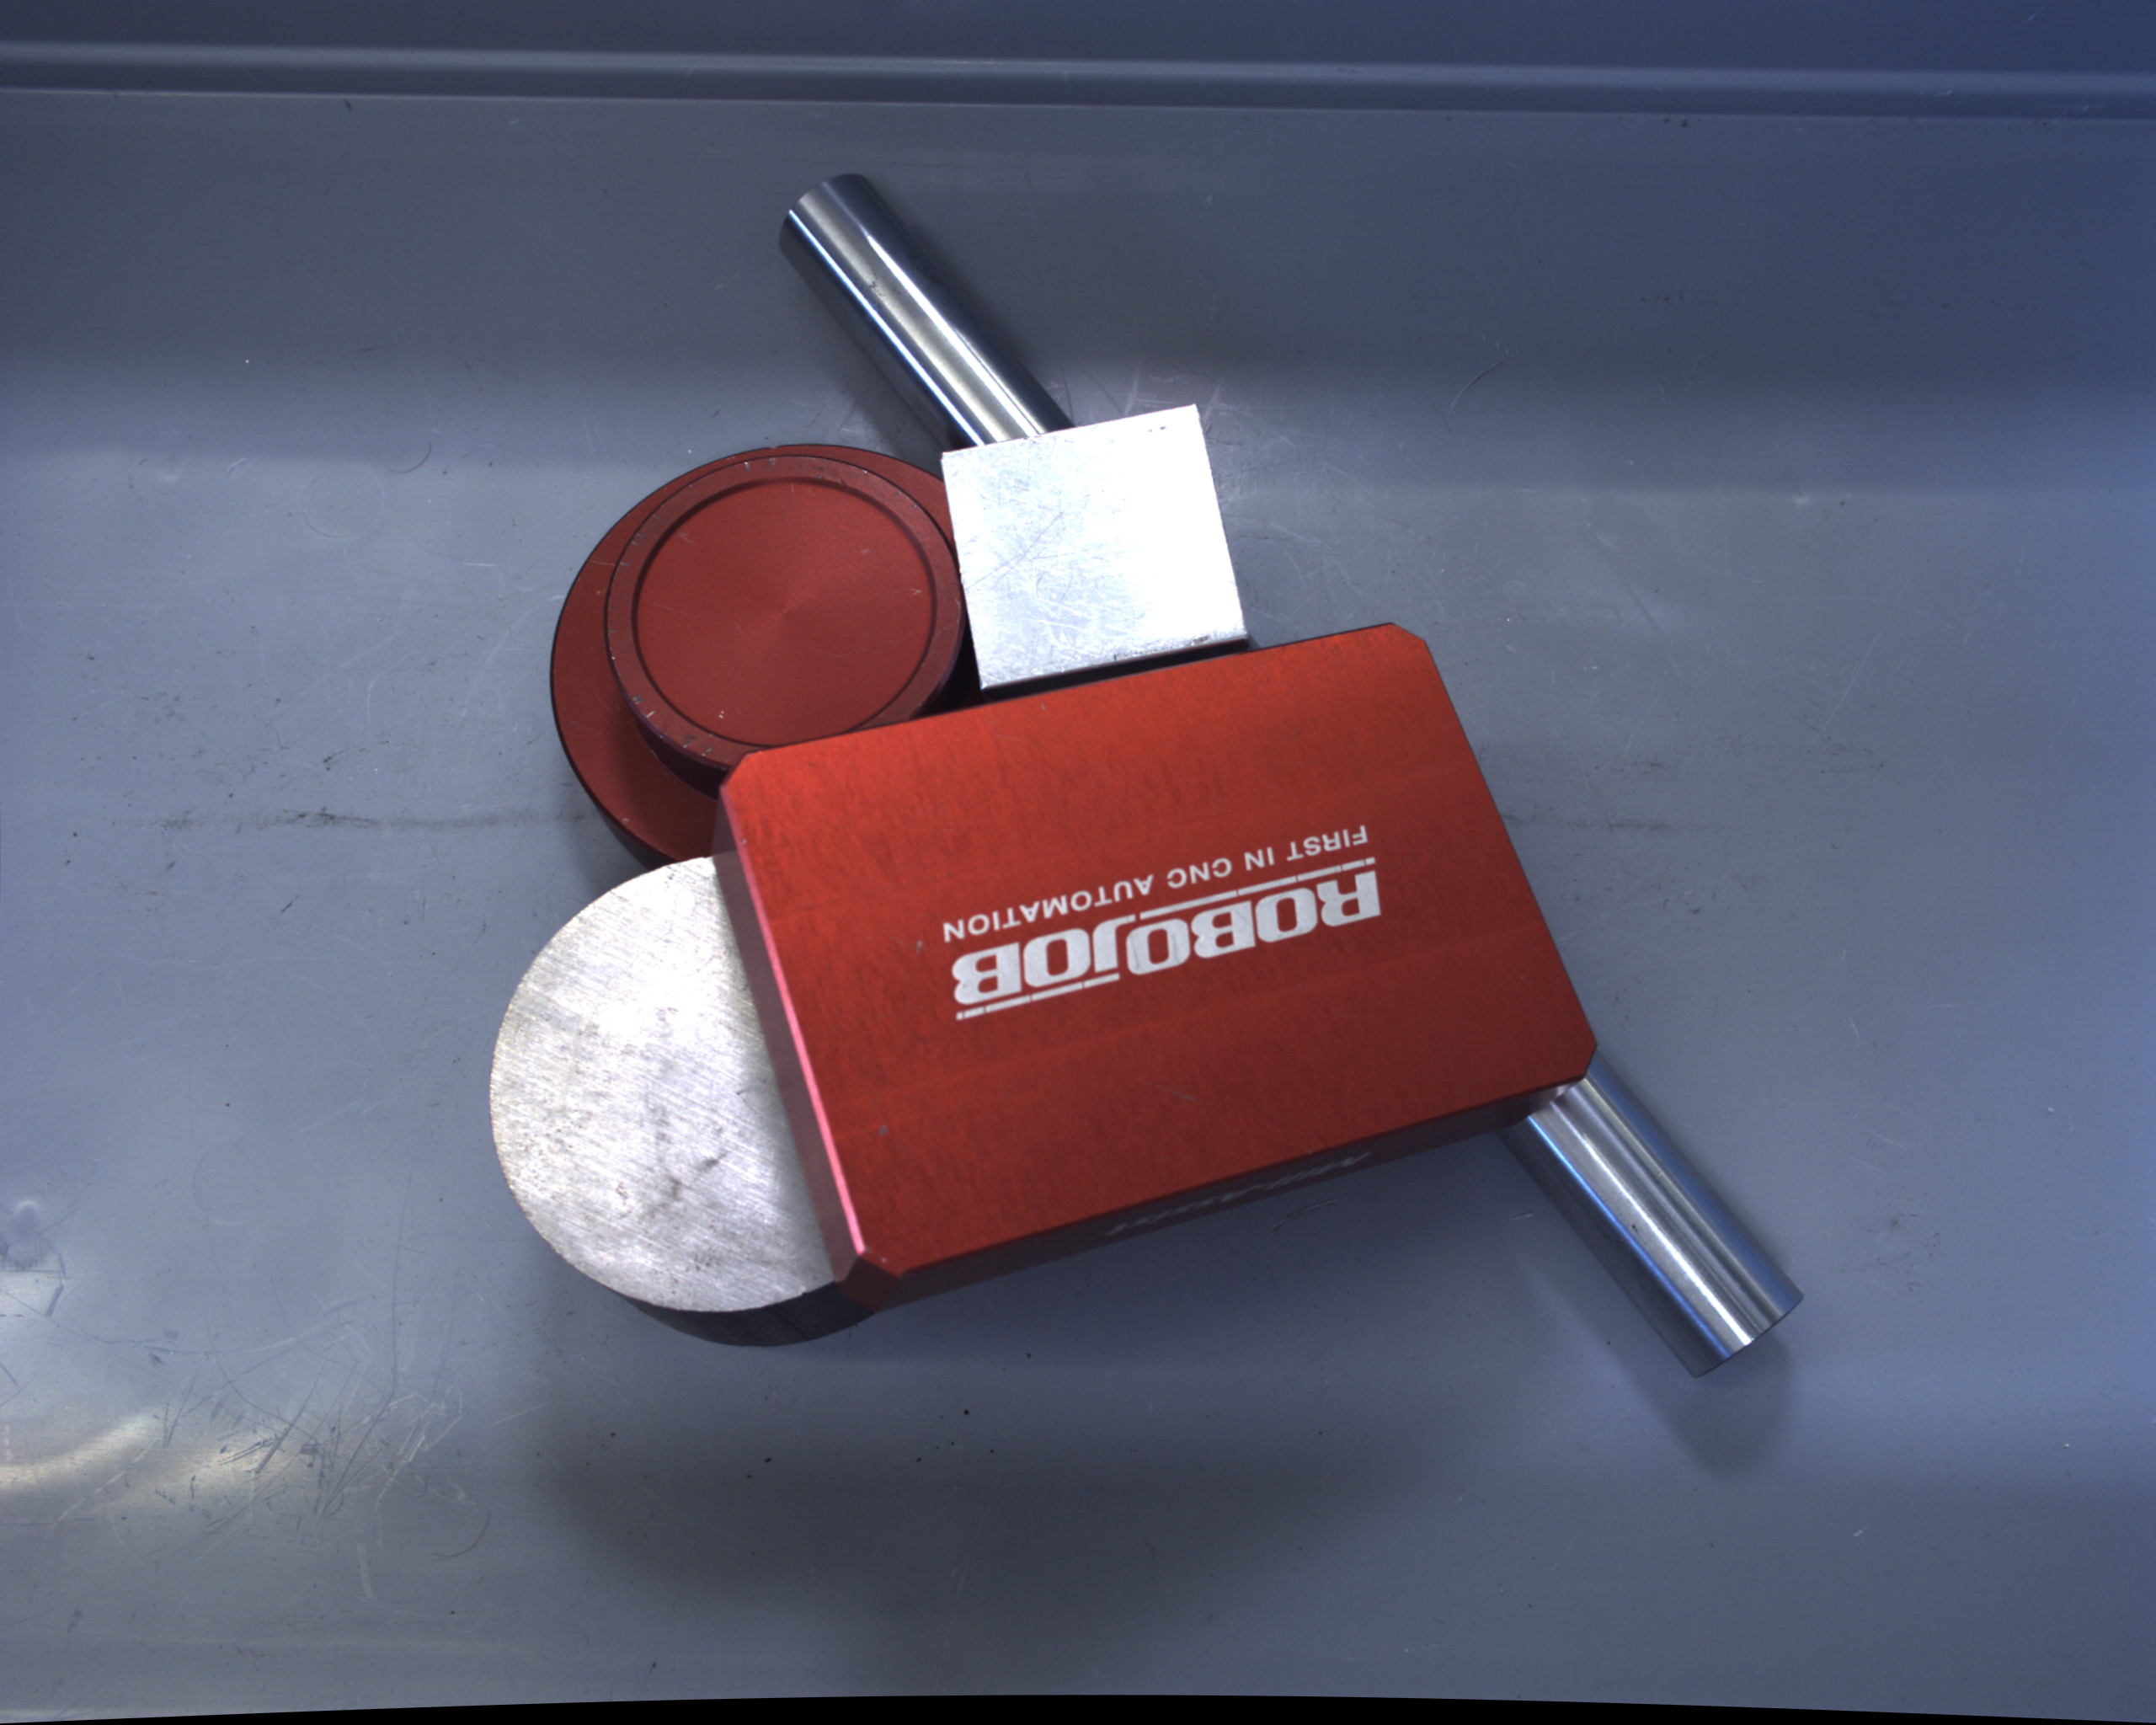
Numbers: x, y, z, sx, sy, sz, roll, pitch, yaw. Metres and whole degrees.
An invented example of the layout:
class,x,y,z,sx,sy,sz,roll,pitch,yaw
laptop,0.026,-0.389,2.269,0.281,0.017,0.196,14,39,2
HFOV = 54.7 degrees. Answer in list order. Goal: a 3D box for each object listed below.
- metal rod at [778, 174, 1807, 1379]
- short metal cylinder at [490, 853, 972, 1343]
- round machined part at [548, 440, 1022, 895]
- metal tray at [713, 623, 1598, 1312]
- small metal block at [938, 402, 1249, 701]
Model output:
class,x,y,z,sx,sy,sz,roll,pitch,yaw
metal rod,0.033,-0.028,0.418,0.025,0.025,0.300,-35,74,-12
short metal cylinder,-0.059,0.044,0.378,0.081,0.050,0.080,0,70,0
round machined part,-0.056,-0.042,0.412,0.099,0.042,0.098,0,70,1
metal tray,0.012,0.015,0.359,0.131,0.030,0.090,-13,70,-18
small metal block,0.003,-0.056,0.403,0.050,0.025,0.050,-11,73,1
